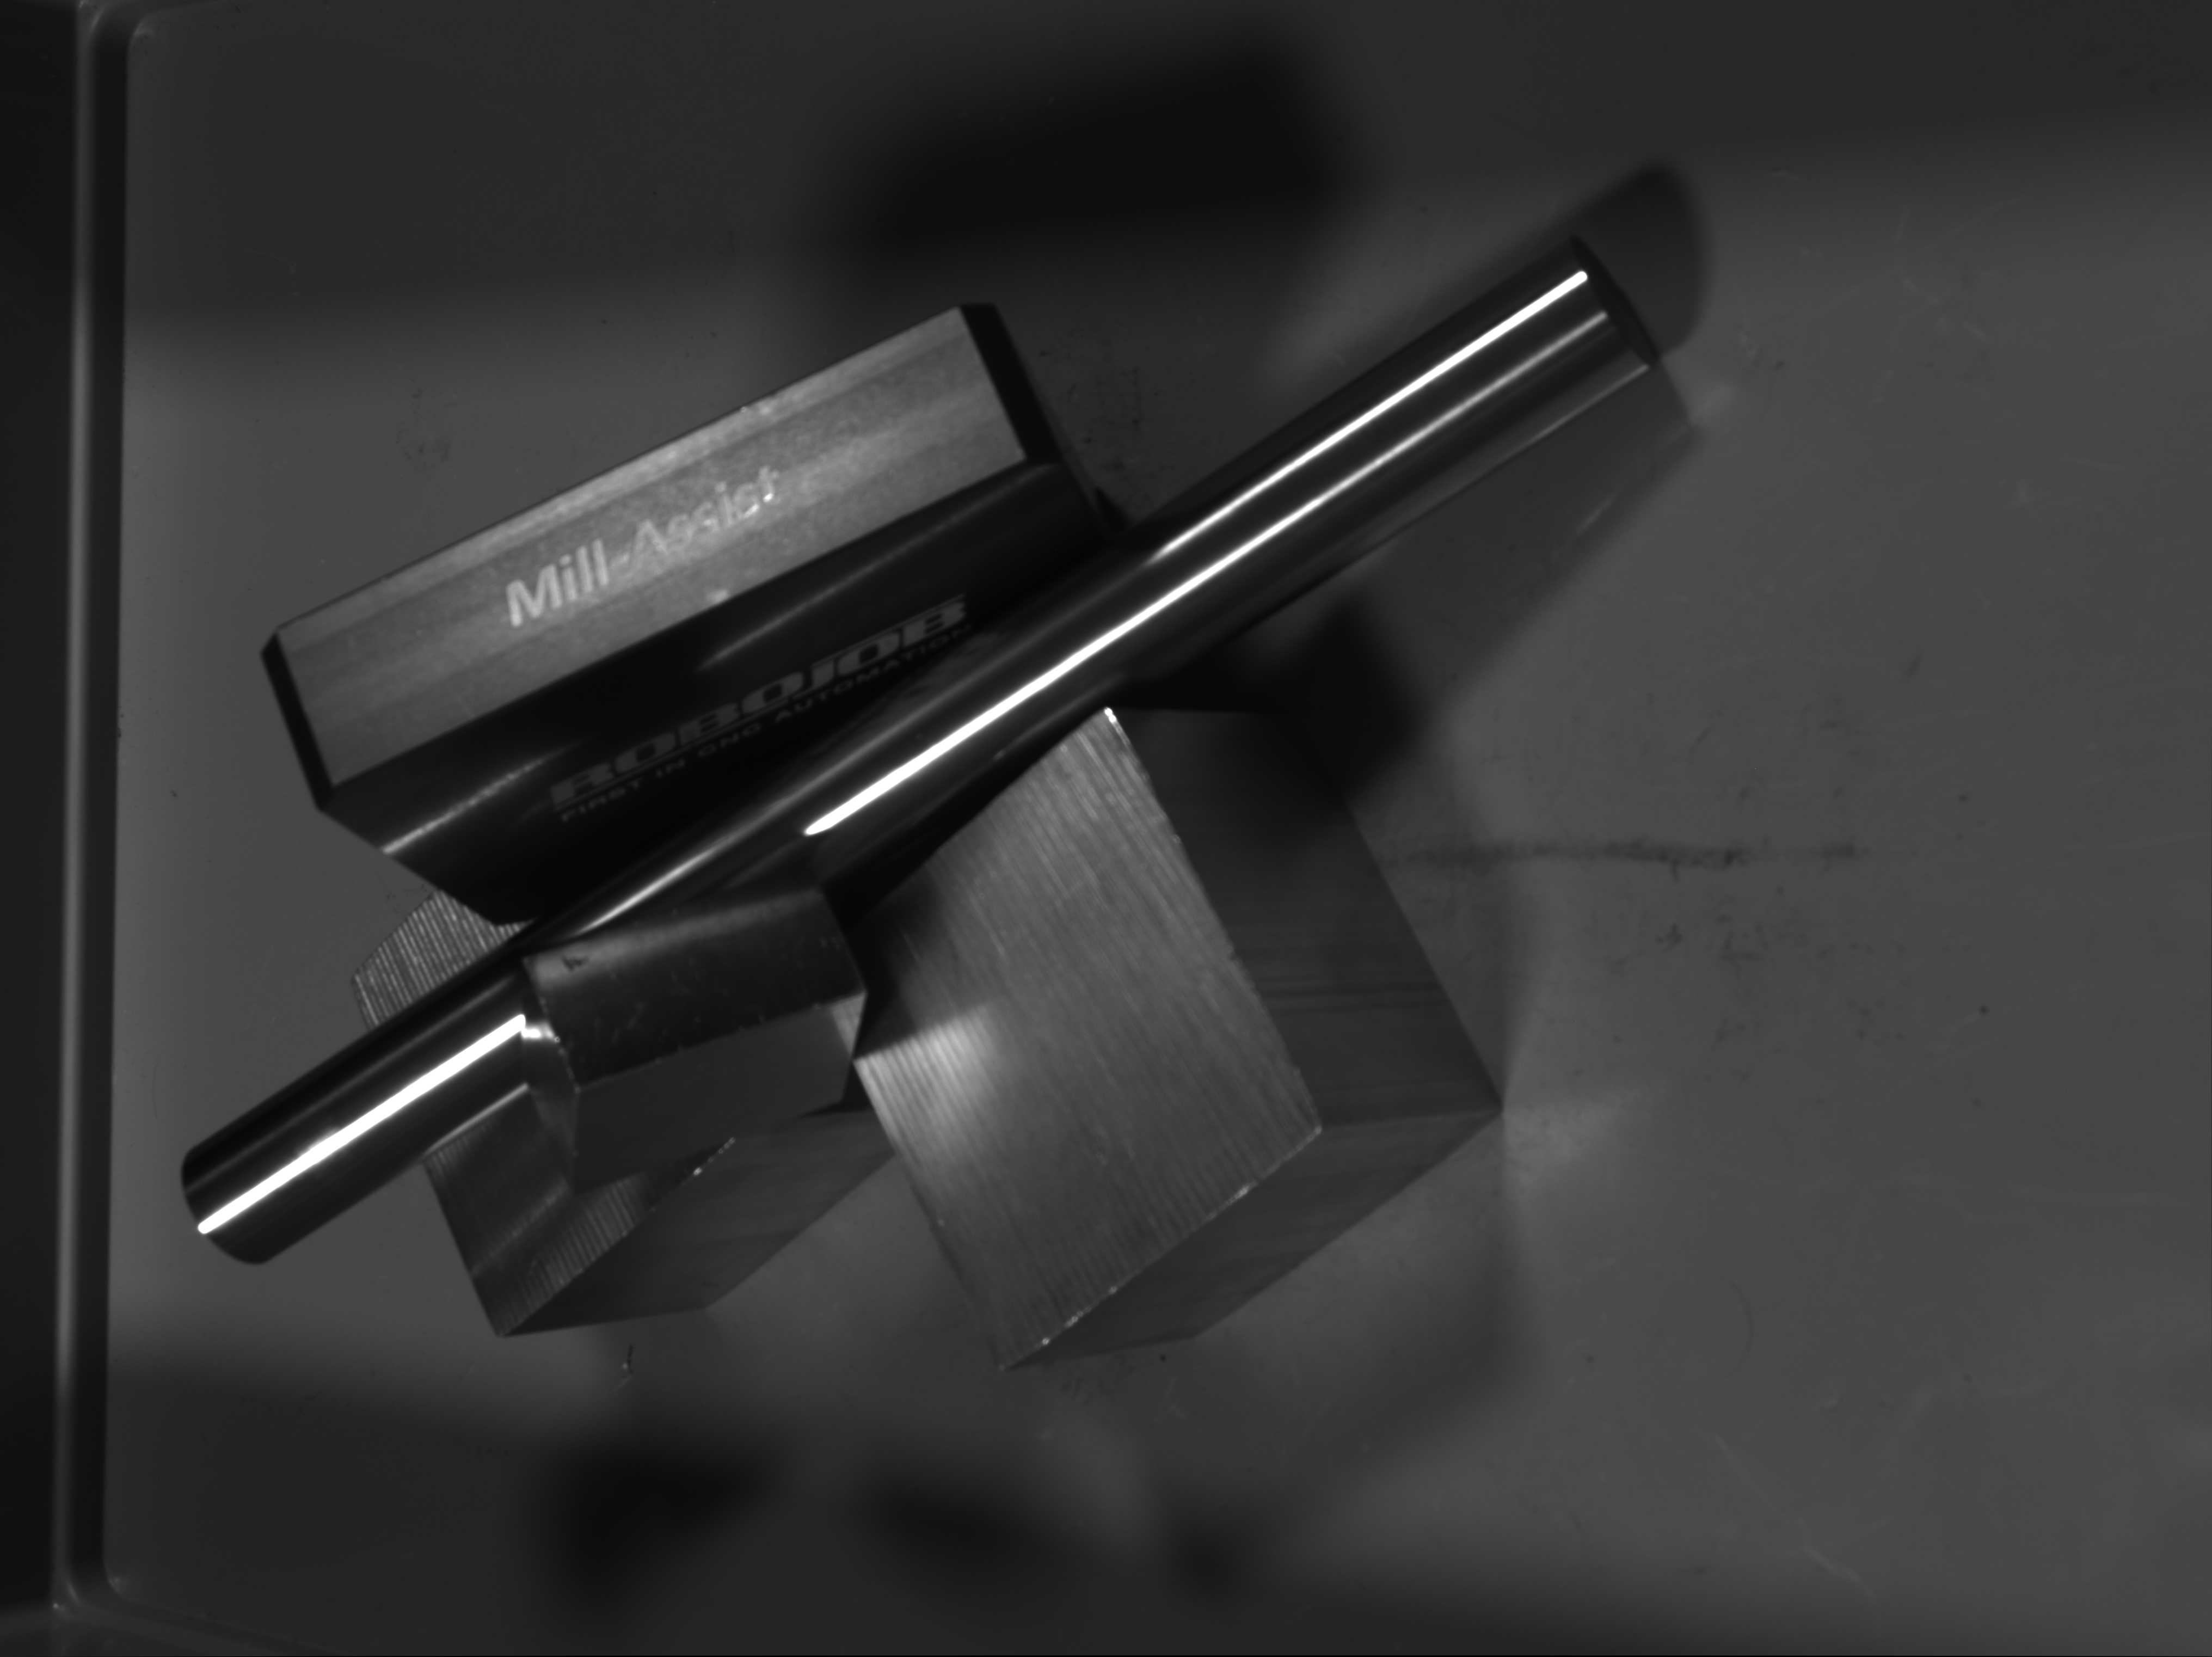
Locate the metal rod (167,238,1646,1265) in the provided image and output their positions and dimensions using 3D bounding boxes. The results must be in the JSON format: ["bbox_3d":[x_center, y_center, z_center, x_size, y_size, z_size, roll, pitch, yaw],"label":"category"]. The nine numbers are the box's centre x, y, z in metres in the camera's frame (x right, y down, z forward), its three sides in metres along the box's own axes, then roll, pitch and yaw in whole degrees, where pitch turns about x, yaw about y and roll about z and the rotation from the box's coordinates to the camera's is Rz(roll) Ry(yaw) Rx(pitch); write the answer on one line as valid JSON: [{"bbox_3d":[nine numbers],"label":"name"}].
[{"bbox_3d":[-0.042,-0.007,0.622,0.300,0.025,0.025,-32,69,19],"label":"metal rod"}]

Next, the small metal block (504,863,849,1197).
[{"bbox_3d":[-0.073,0.034,0.616,0.050,0.050,0.025,110,139,-64],"label":"small metal block"}]

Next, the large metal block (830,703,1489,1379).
[{"bbox_3d":[0.004,0.035,0.616,0.080,0.050,0.080,-41,65,32],"label":"large metal block"}]

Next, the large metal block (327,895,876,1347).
[{"bbox_3d":[-0.092,0.041,0.691,0.080,0.050,0.080,-41,65,32],"label":"large metal block"}]

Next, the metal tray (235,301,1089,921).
[{"bbox_3d":[-0.067,-0.033,0.613,0.130,0.090,0.030,-25,73,3],"label":"metal tray"}]
